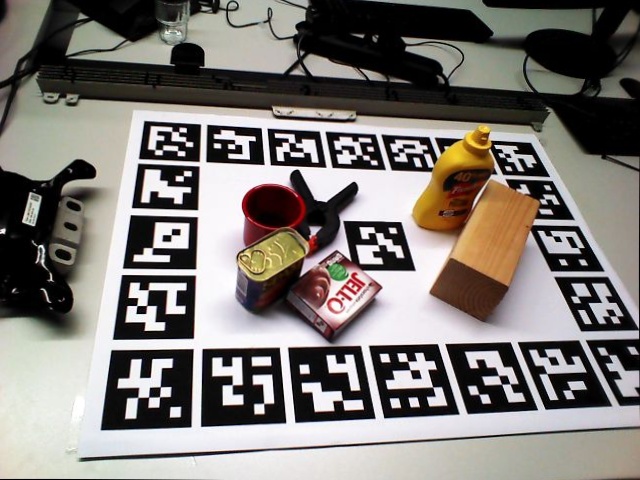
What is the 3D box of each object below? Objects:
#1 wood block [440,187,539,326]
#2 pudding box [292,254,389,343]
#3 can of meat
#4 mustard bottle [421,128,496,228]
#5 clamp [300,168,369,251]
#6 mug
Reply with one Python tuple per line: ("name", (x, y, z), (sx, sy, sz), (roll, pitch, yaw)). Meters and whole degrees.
("wood block", (0.274, 0.017, 0.796), (0.090, 0.091, 0.204), (29, 49, 15))
("pudding box", (0.030, 0.076, 0.726), (0.090, 0.039, 0.113), (41, 53, 20))
("can of meat", (-0.063, 0.039, 0.700), (0.101, 0.084, 0.058), (-25, 61, -28))
("mustard bottle", (0.232, -0.099, 0.809), (0.096, 0.192, 0.058), (-3, 53, -13))
("clamp", (0.009, -0.052, 0.833), (0.122, 0.037, 0.164), (17, 52, 0))
("mug", (-0.067, -0.026, 0.790), (0.093, 0.082, 0.116), (19, 52, 4))
